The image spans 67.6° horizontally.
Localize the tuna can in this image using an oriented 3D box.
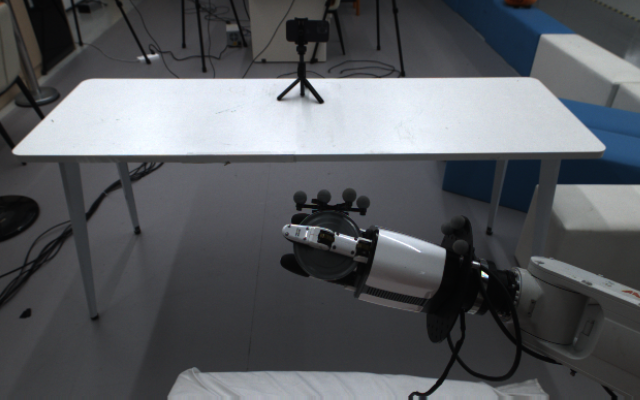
[{"bbox_3d":[0.012,0.061,0.594,0.085,0.034,0.085,0,75,0],"label":"tuna can"}]
